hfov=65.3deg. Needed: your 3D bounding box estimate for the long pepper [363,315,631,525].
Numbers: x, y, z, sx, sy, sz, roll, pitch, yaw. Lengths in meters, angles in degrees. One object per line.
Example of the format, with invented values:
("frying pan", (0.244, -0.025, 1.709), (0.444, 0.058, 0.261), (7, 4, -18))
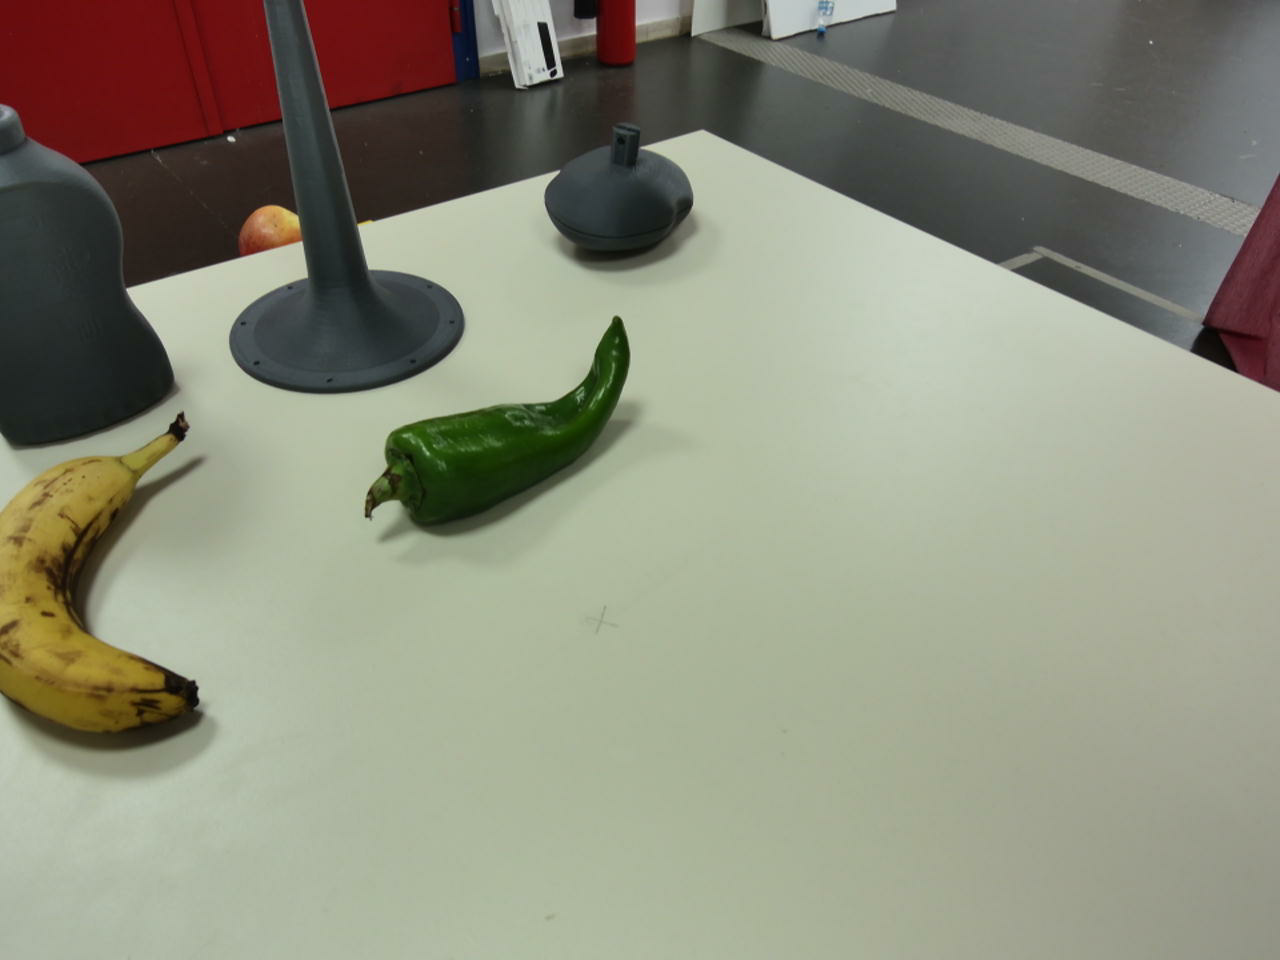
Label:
("long pepper", (-0.068, -0.028, 0.524), (0.175, 0.065, 0.058), (-27, 45, -31))
